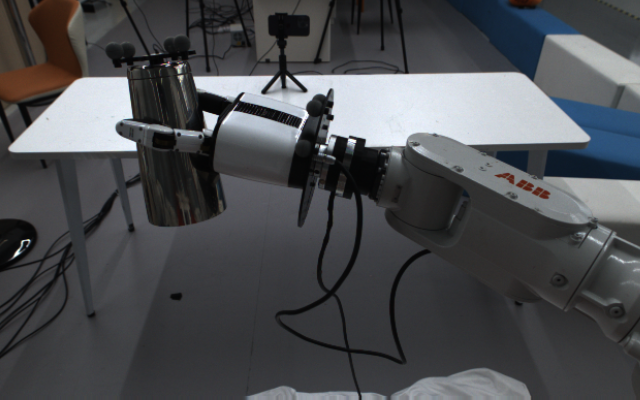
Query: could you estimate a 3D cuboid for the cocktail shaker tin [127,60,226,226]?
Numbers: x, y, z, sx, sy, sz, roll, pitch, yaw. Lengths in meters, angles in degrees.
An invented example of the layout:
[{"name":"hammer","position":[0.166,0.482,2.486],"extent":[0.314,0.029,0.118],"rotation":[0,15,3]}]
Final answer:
[{"name":"cocktail shaker tin","position":[-0.165,-0.065,0.547],"extent":[0.093,0.170,0.093],"rotation":[-6,19,2]}]
